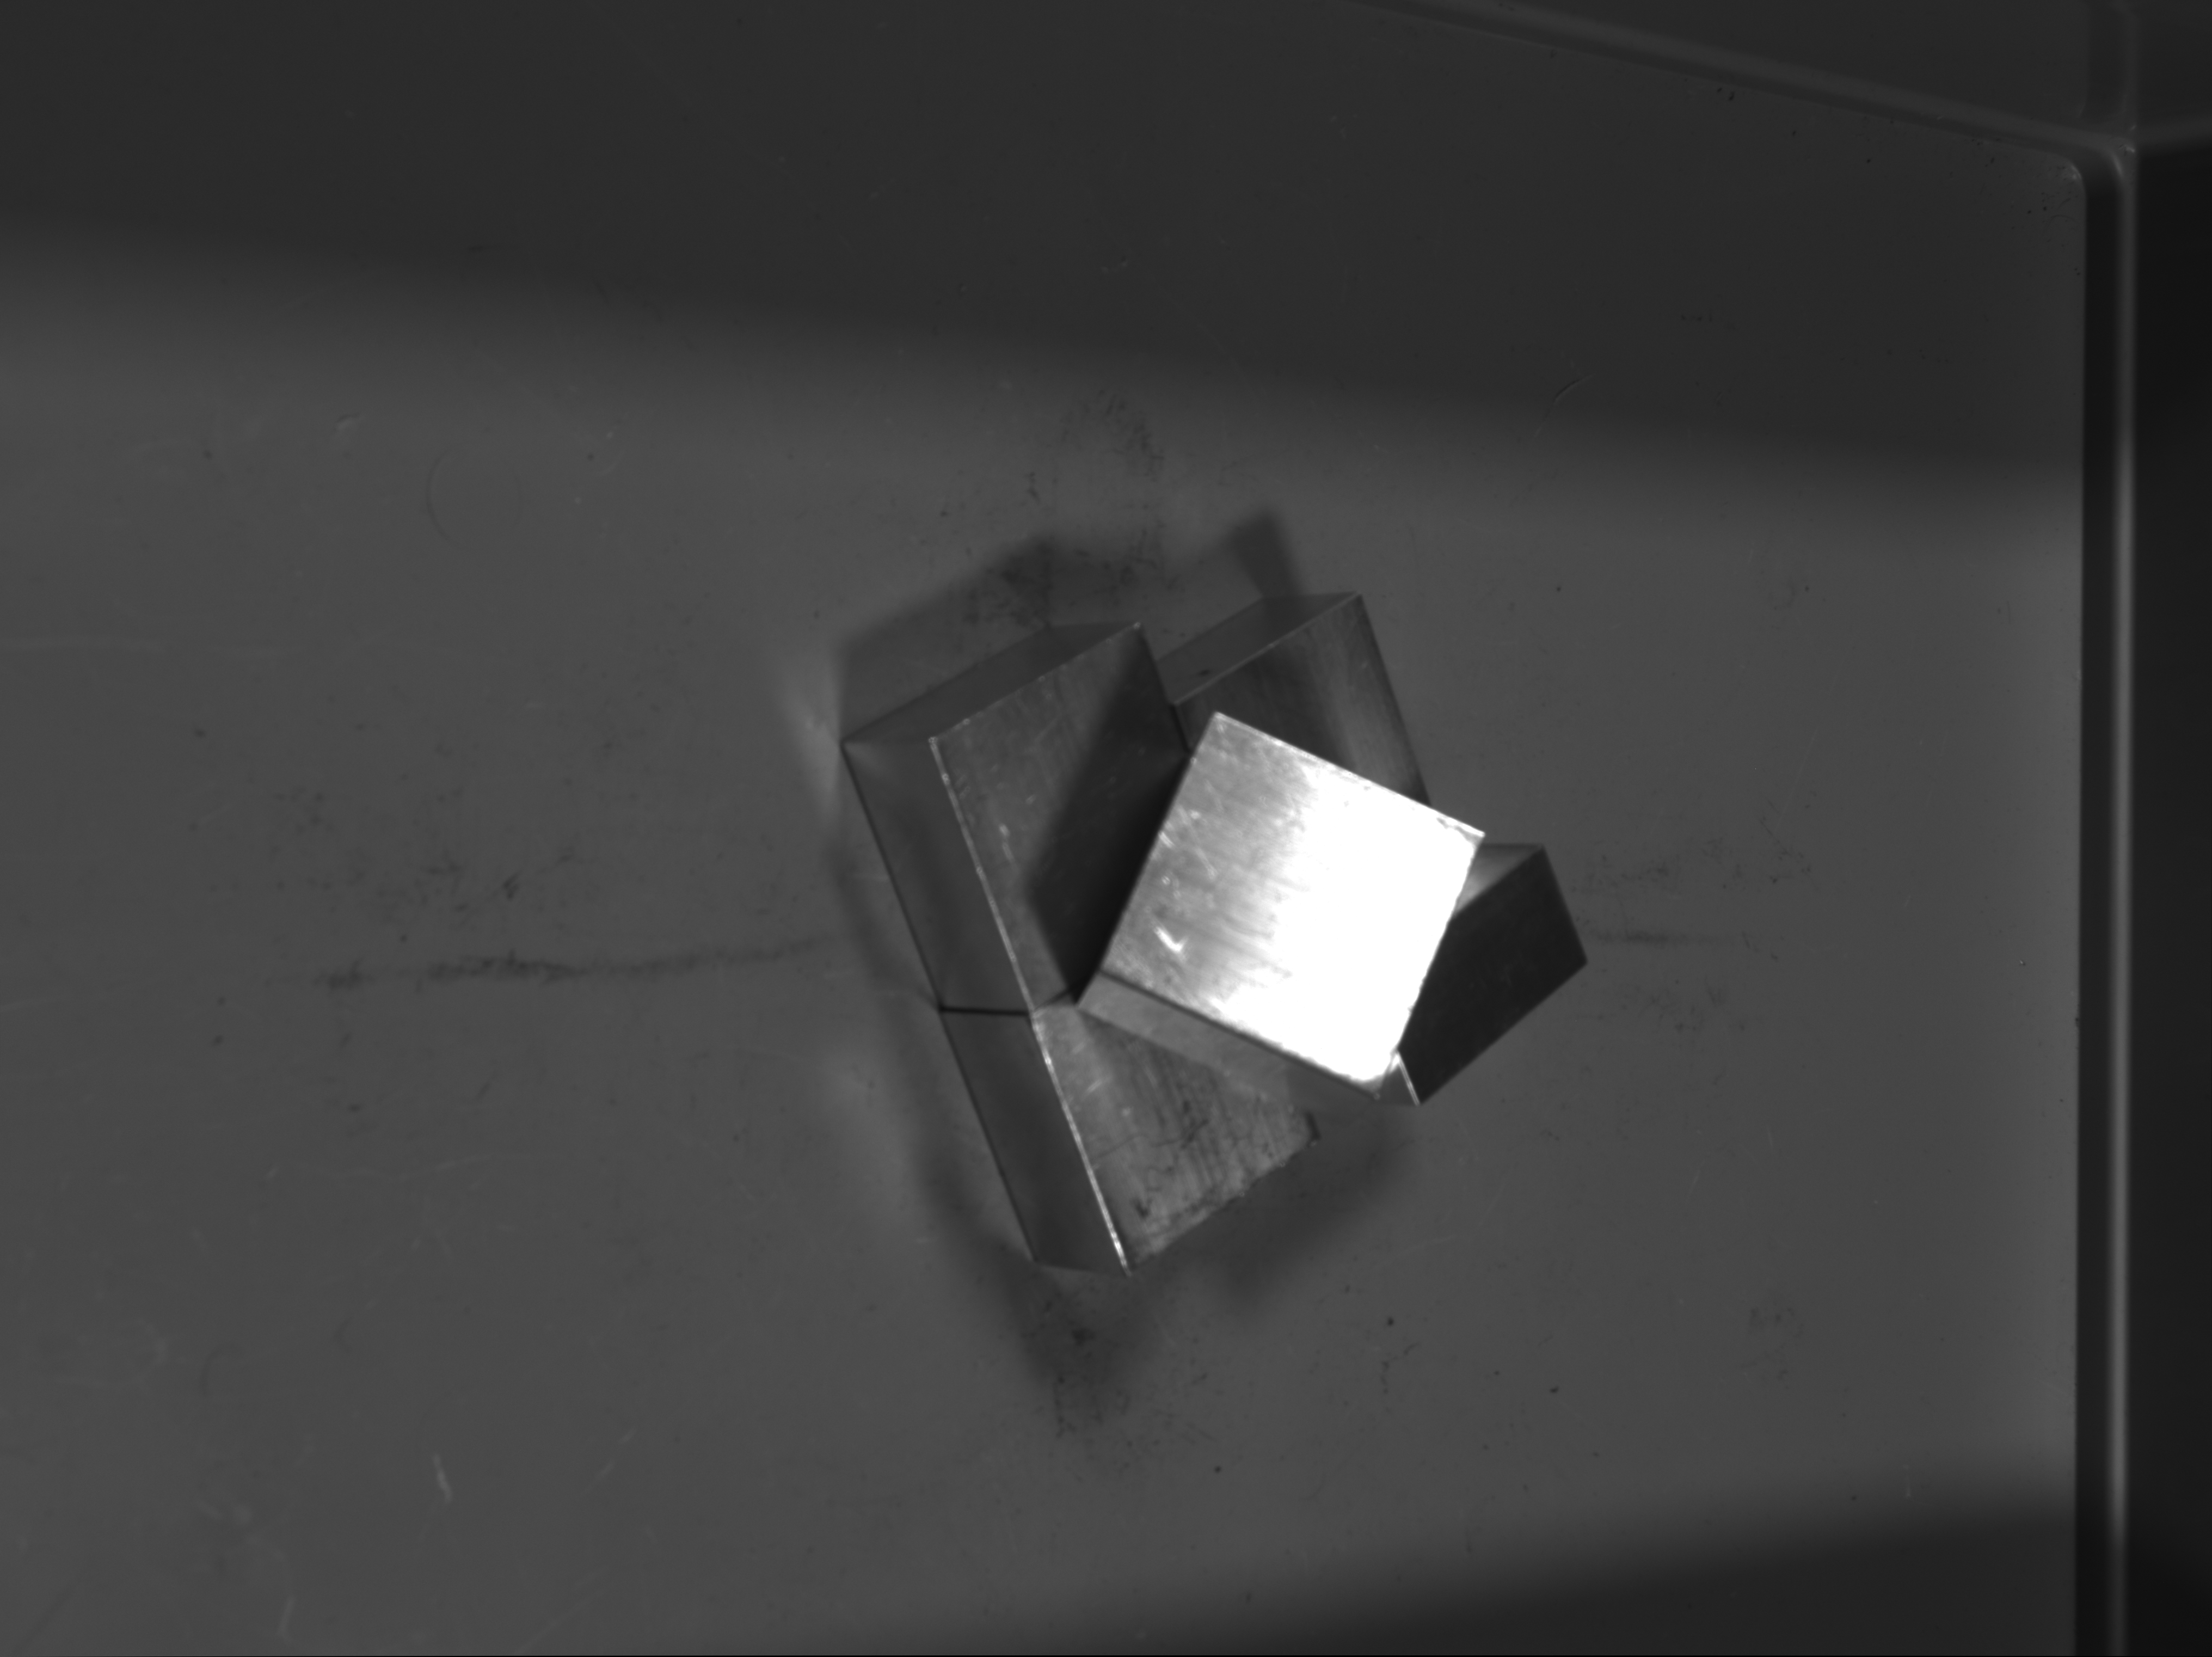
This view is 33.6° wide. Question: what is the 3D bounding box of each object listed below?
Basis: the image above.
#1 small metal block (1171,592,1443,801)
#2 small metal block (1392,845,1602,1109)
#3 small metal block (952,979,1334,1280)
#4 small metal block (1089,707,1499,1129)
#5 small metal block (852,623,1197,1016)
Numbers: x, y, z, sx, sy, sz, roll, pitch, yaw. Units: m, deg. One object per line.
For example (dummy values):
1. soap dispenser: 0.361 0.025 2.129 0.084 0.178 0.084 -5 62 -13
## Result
1. small metal block: 0.031 -0.009 0.662 0.050 0.025 0.050 -31 109 -36
2. small metal block: 0.052 0.026 0.663 0.050 0.050 0.025 -35 112 -35
3. small metal block: 0.007 0.044 0.642 0.050 0.025 0.050 -31 109 -36
4. small metal block: 0.031 0.015 0.613 0.050 0.025 0.050 24 71 -1
5. small metal block: -0.009 -0.002 0.628 0.050 0.025 0.050 -31 109 -36
